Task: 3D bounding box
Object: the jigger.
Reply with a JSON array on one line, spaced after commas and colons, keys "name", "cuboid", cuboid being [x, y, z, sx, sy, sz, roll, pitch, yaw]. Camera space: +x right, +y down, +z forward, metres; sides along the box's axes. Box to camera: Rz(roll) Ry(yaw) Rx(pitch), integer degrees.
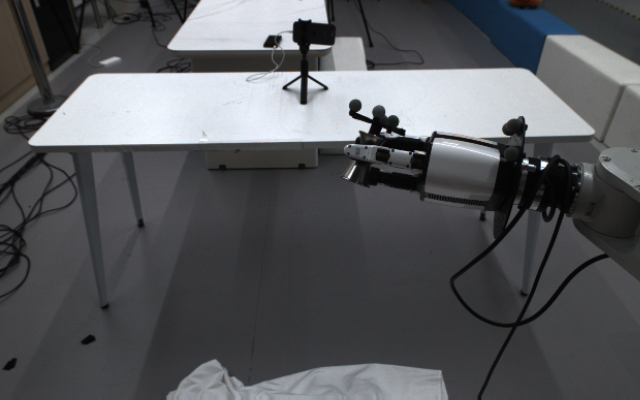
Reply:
[{"name": "jigger", "cuboid": [0.058, -0.057, 0.656, 0.043, 0.071, 0.043, 22, 6, -2]}]
